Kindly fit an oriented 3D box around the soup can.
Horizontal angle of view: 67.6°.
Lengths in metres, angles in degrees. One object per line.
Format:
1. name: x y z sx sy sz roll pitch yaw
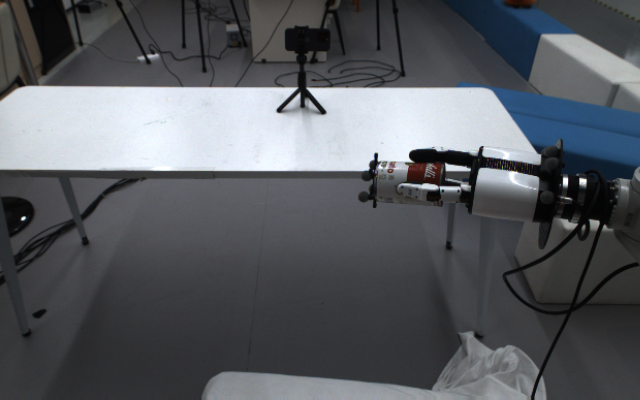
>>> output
1. soup can: 0.143 -0.027 0.757 0.101 0.067 0.067 4 34 19
